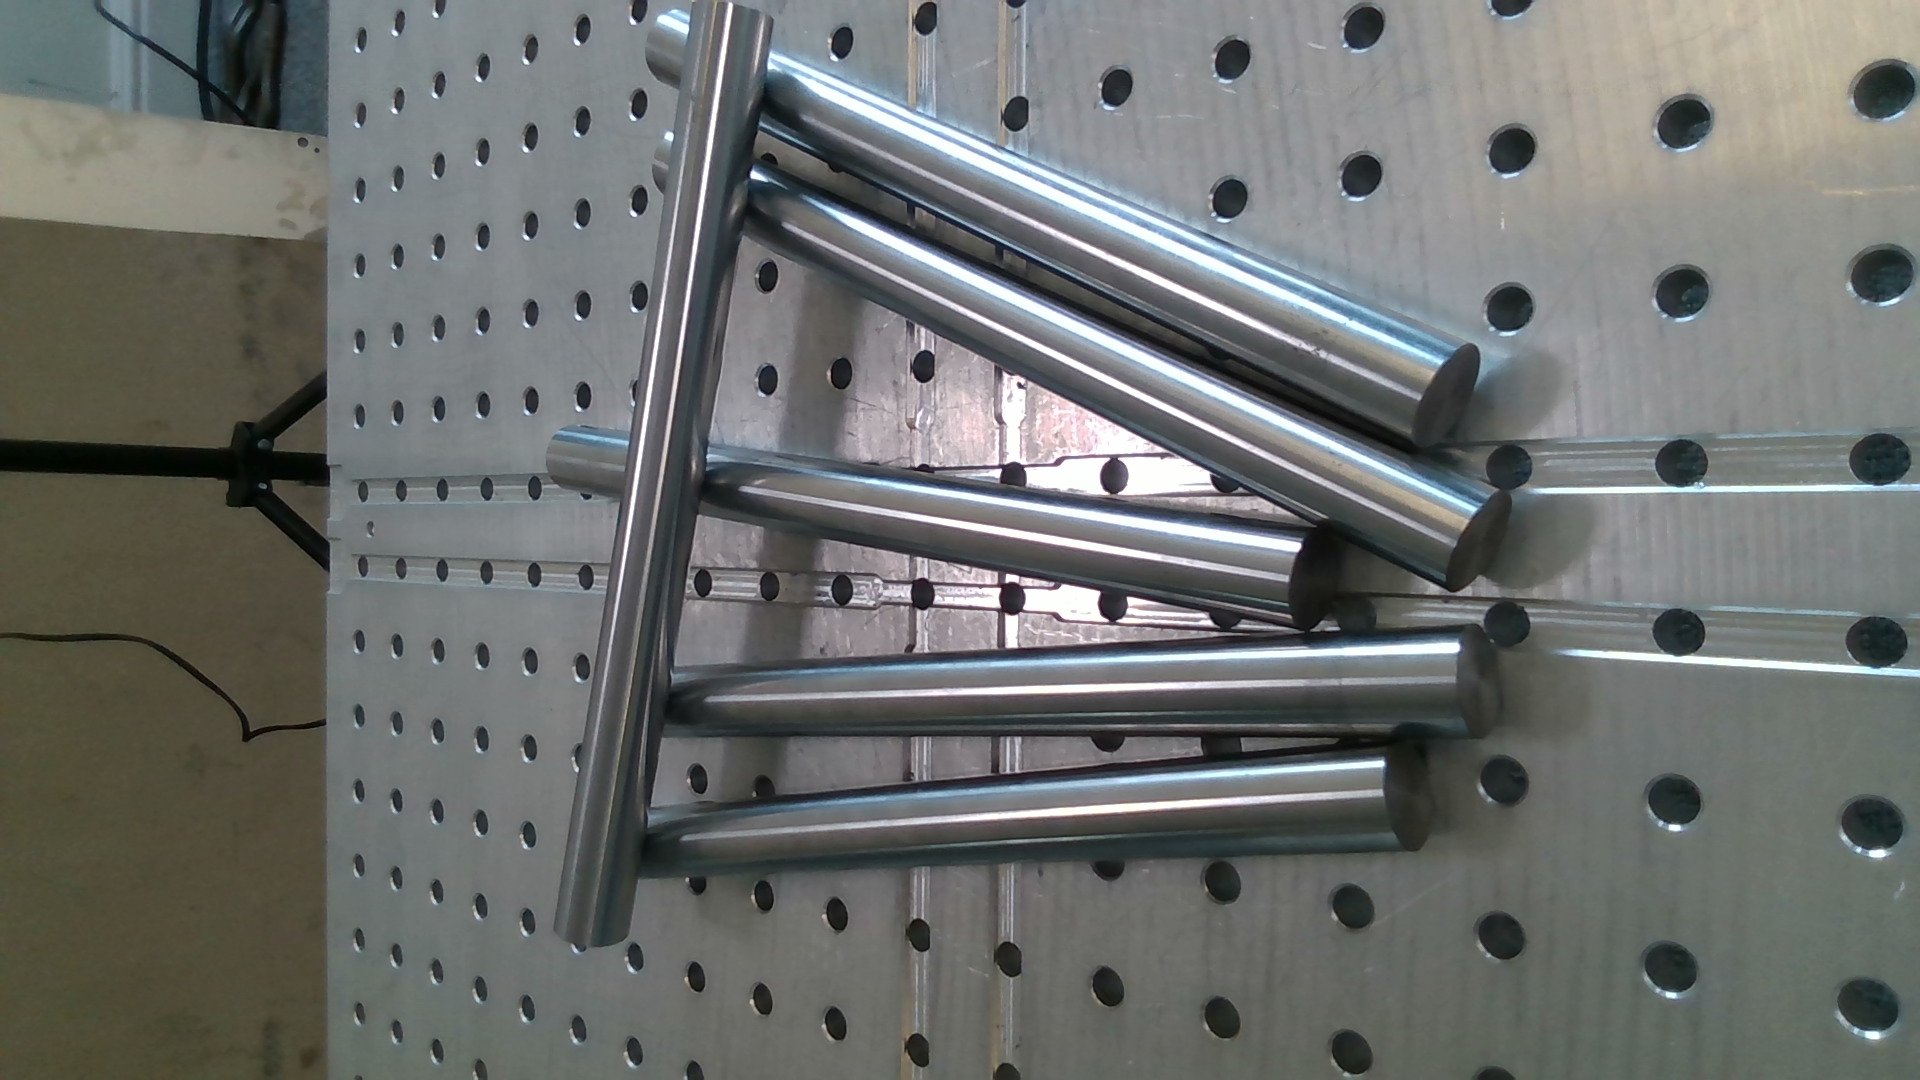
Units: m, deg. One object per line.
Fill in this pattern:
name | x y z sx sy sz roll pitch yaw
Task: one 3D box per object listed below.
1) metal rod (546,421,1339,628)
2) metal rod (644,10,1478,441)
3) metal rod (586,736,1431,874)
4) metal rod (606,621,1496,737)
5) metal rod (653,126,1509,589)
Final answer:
metal rod | -0.030 -0.012 0.419 0.300 0.025 0.025 10 97 40
metal rod | 0.004 -0.101 0.388 0.299 0.025 0.025 34 111 35
metal rod | -0.012 0.083 0.405 0.300 0.025 0.025 -13 82 40
metal rod | -0.002 0.044 0.396 0.300 0.025 0.025 -7 86 40
metal rod | 0.009 -0.065 0.386 0.299 0.025 0.025 32 110 35
